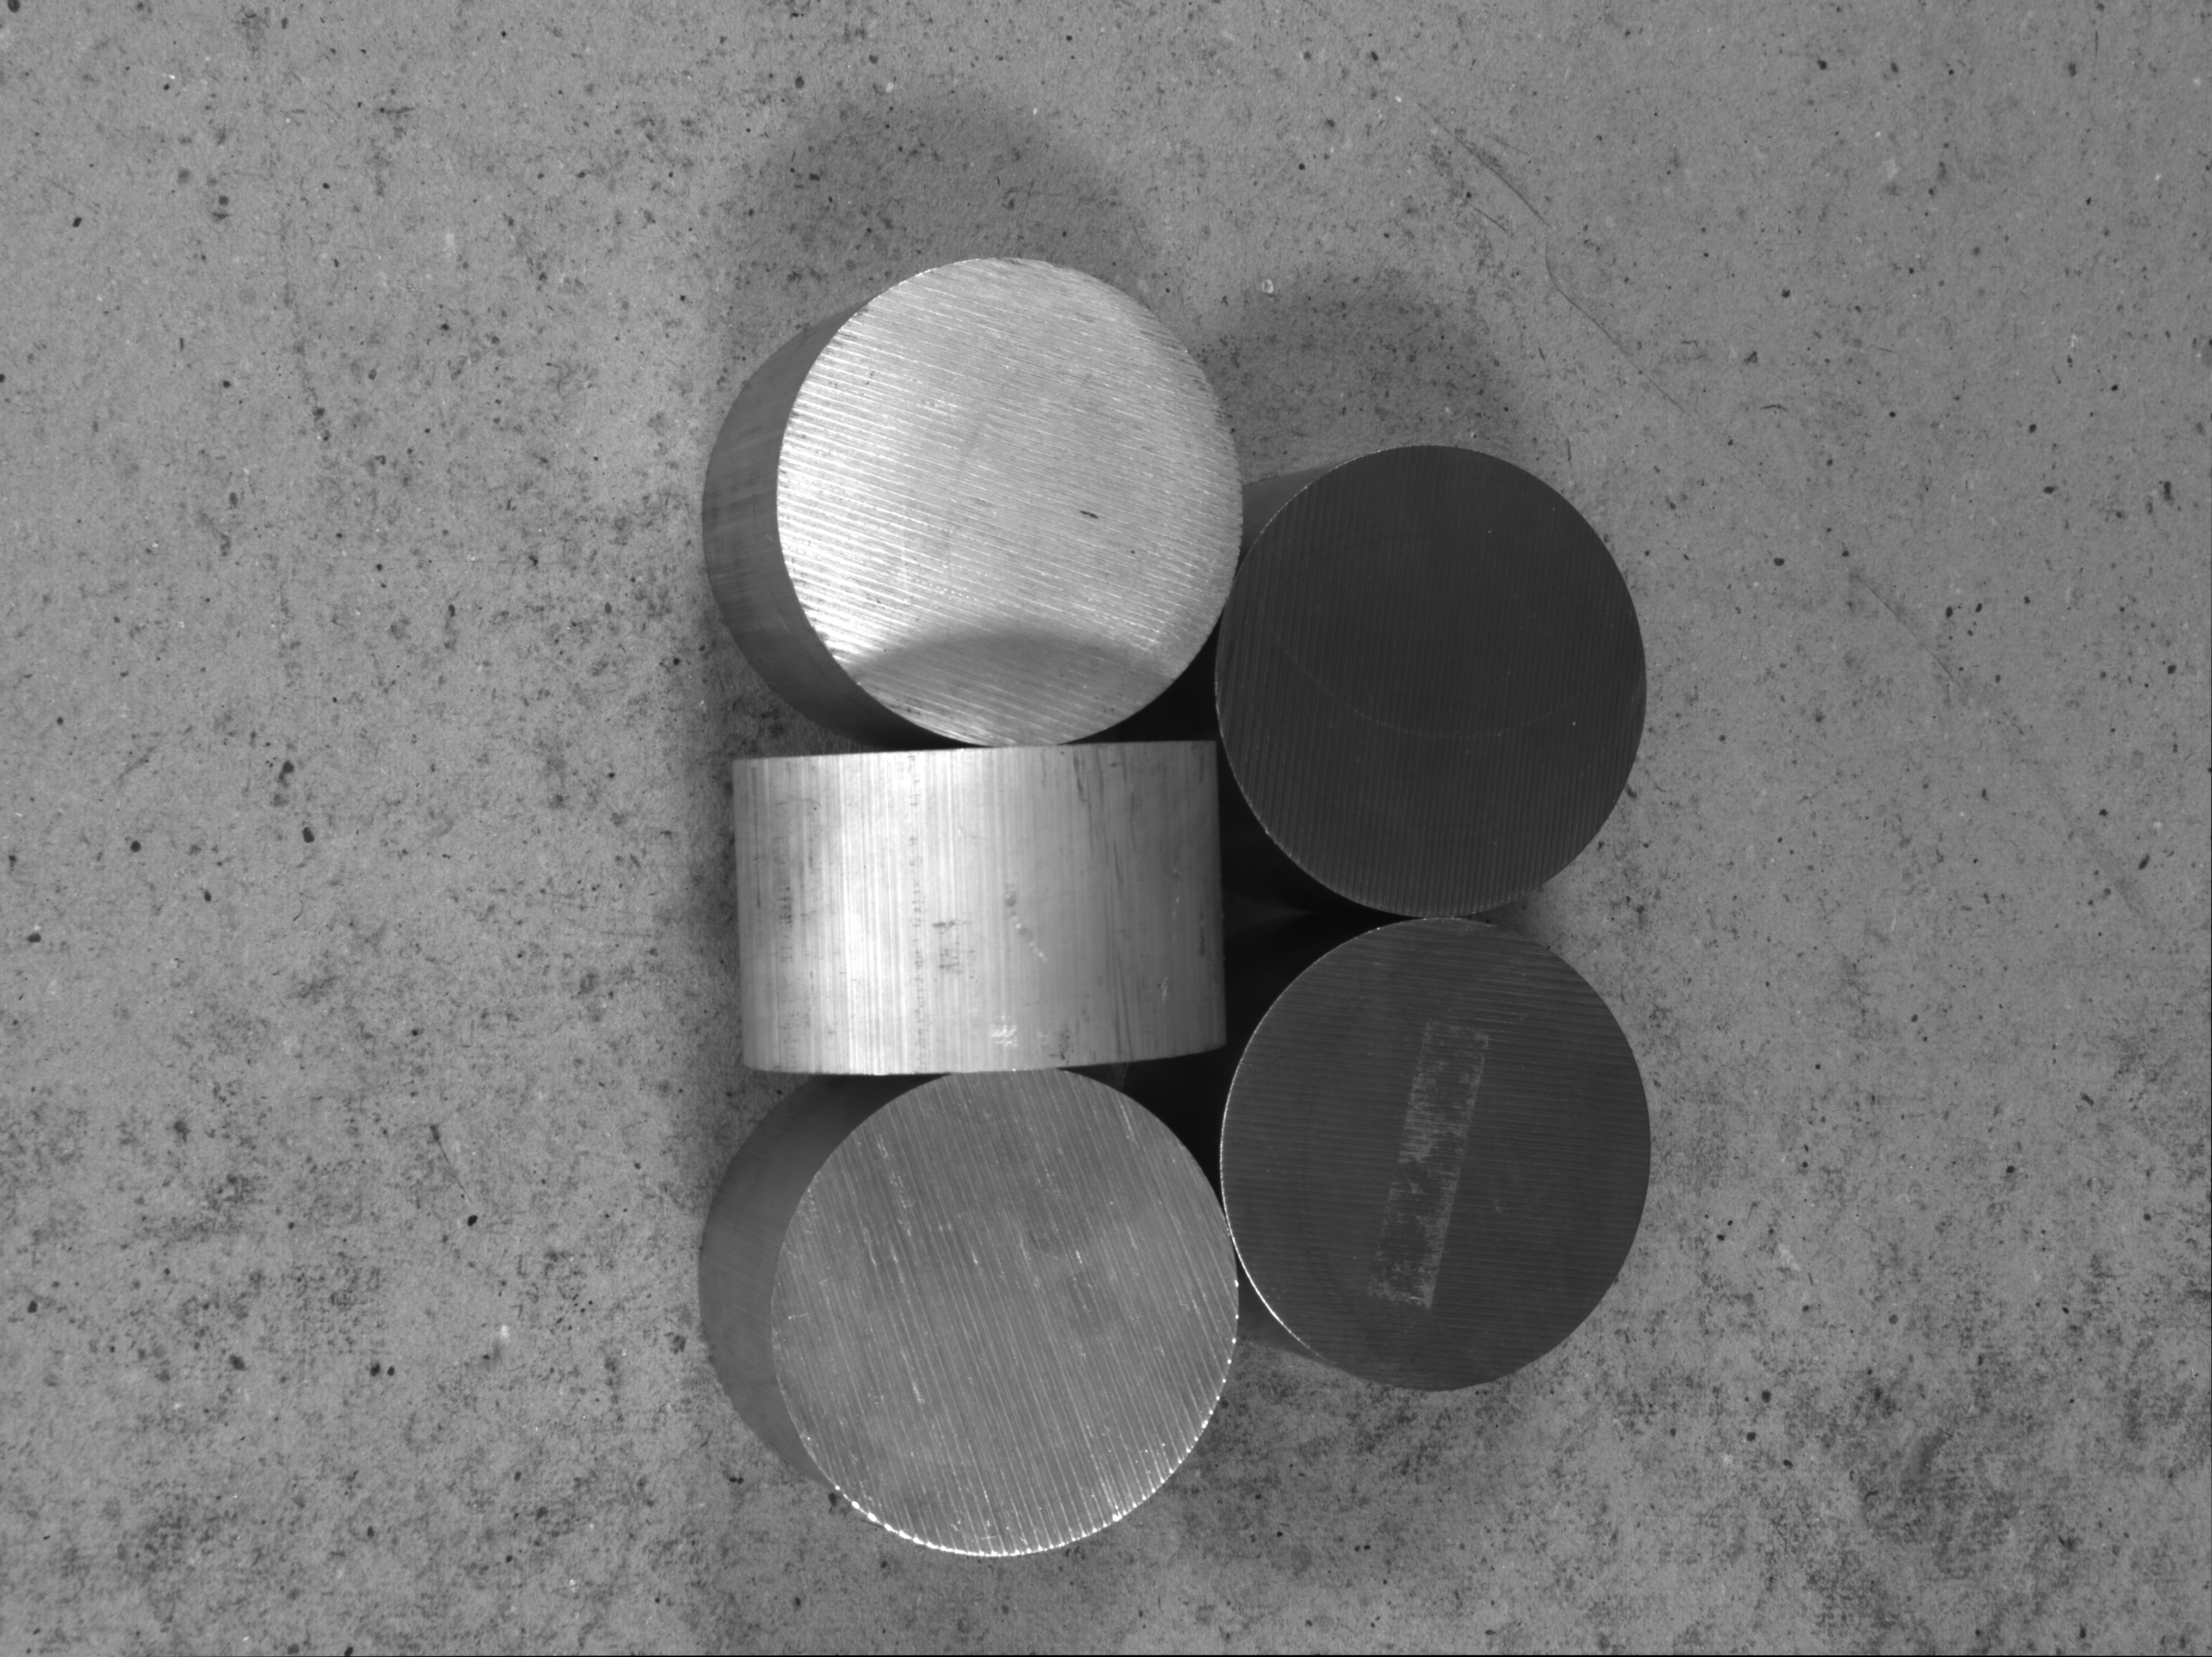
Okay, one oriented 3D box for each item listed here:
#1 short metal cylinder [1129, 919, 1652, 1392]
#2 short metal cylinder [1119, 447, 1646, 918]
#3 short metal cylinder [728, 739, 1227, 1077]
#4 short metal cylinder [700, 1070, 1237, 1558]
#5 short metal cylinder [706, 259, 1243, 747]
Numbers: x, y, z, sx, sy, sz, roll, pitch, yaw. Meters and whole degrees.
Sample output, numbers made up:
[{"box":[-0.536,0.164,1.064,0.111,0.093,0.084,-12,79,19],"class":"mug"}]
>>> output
[{"box":[0.049,0.056,0.647,0.080,0.050,0.080,0,90,-19],"class":"short metal cylinder"},{"box":[0.048,-0.025,0.646,0.080,0.050,0.080,0,90,-20],"class":"short metal cylinder"},{"box":[-0.021,0.012,0.606,0.080,0.080,0.050,-3,91,-20],"class":"short metal cylinder"},{"box":[-0.024,0.079,0.621,0.080,0.050,0.080,0,90,-19],"class":"short metal cylinder"},{"box":[-0.023,-0.053,0.621,0.080,0.050,0.080,0,90,-19],"class":"short metal cylinder"}]
